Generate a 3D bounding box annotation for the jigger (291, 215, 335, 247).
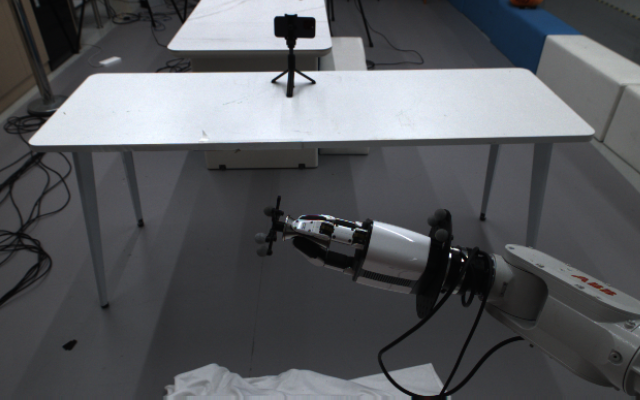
[{"bbox_3d":[-0.010,0.043,0.702,0.071,0.043,0.043,11,35,3],"label":"jigger"}]
